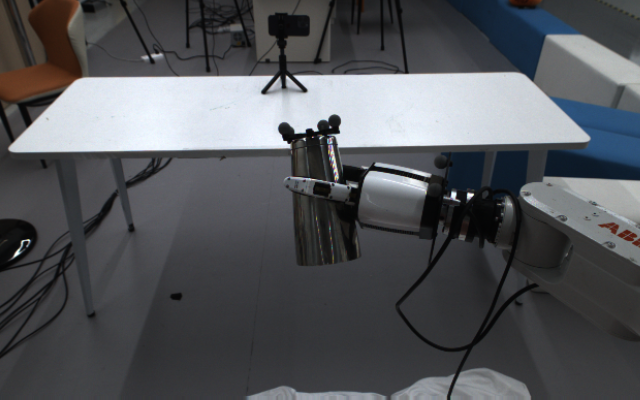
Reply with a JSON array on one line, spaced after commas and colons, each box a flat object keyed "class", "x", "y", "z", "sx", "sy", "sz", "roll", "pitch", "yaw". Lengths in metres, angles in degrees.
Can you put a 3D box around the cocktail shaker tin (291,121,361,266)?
[{"class": "cocktail shaker tin", "x": 0.001, "y": 0.000, "z": 0.679, "sx": 0.093, "sy": 0.170, "sz": 0.093, "roll": -8, "pitch": 1, "yaw": 0}]
